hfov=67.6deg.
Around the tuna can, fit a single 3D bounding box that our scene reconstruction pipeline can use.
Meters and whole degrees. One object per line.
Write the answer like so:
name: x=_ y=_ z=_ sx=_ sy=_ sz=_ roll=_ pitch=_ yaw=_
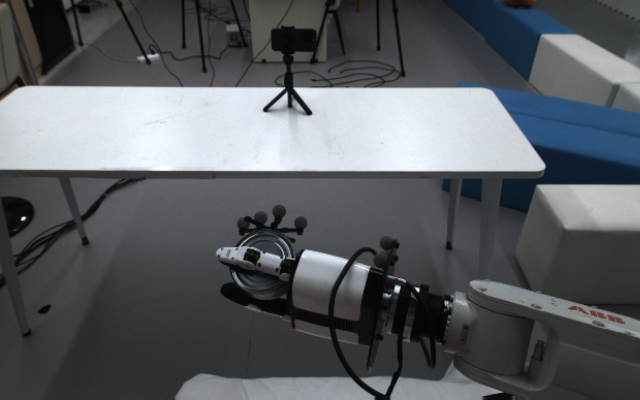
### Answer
tuna can: x=-0.068 y=0.082 z=0.615 sx=0.085 sy=0.034 sz=0.085 roll=-6 pitch=60 yaw=10
